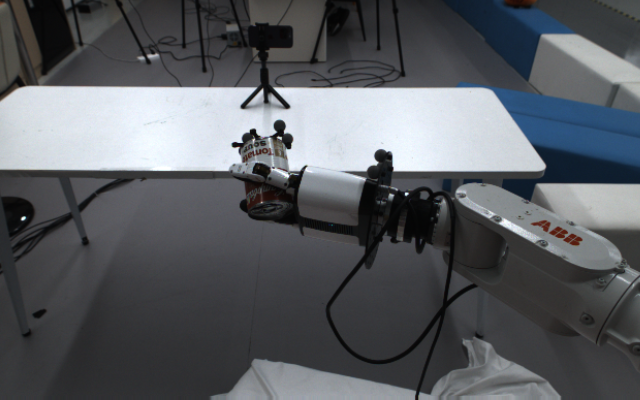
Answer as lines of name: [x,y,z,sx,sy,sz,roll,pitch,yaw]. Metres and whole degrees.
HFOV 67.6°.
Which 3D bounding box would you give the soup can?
soup can: [-0.073,-0.029,0.686,0.067,0.067,0.101,-6,67,-12]
